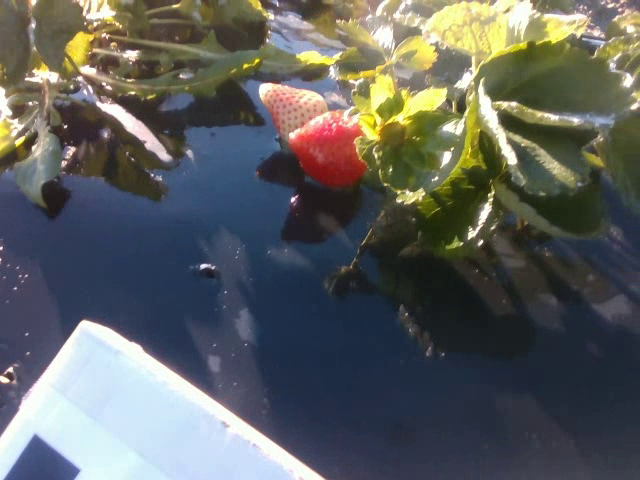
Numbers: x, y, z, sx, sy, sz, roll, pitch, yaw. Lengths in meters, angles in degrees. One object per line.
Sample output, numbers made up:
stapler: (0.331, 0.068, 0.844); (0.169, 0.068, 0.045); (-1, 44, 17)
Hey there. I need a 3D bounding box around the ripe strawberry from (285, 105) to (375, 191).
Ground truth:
ripe strawberry: (0.001, -0.046, 0.284); (0.040, 0.038, 0.055); (3, -15, 39)
